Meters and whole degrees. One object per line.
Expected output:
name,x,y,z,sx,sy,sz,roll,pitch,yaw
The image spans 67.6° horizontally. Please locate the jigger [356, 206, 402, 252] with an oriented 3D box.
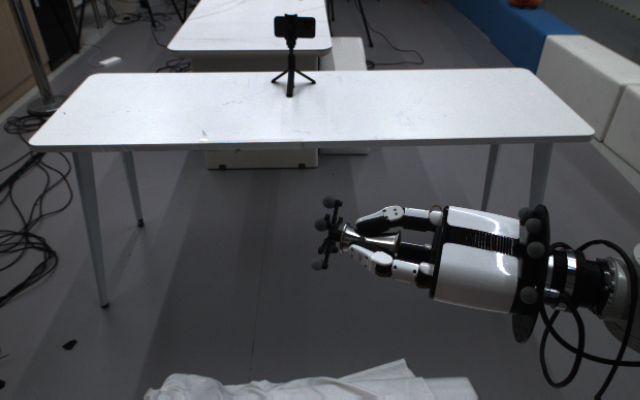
jigger,0.069,0.051,0.600,0.071,0.043,0.043,11,36,15
